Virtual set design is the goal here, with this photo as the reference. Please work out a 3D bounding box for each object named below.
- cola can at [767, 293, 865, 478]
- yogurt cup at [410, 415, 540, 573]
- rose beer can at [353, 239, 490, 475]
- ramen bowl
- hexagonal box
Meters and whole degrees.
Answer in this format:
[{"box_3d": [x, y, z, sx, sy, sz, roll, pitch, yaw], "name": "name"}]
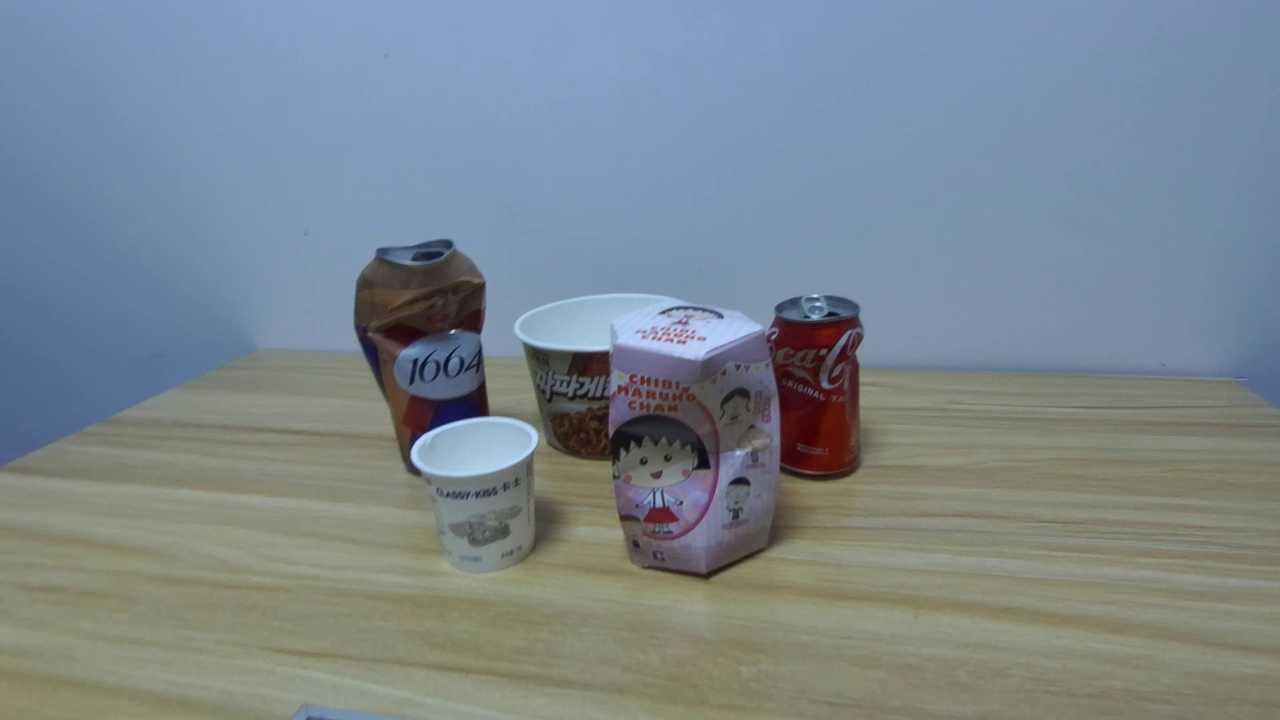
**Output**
[{"box_3d": [0.118, 0.017, 0.479, 0.066, 0.117, 0.066, 12, 25, 37], "name": "cola can"}, {"box_3d": [-0.090, 0.079, 0.408, 0.072, 0.068, 0.072, -3, 20, 1], "name": "yogurt cup"}, {"box_3d": [-0.147, -0.001, 0.502, 0.068, 0.162, 0.074, 5, 24, 21], "name": "rose beer can"}, {"box_3d": [-0.025, 0.015, 0.569, 0.140, 0.095, 0.140, -2, 18, 1], "name": "ramen bowl"}, {"box_3d": [0.023, 0.042, 0.396, 0.089, 0.134, 0.093, -7, 21, -12], "name": "hexagonal box"}]
